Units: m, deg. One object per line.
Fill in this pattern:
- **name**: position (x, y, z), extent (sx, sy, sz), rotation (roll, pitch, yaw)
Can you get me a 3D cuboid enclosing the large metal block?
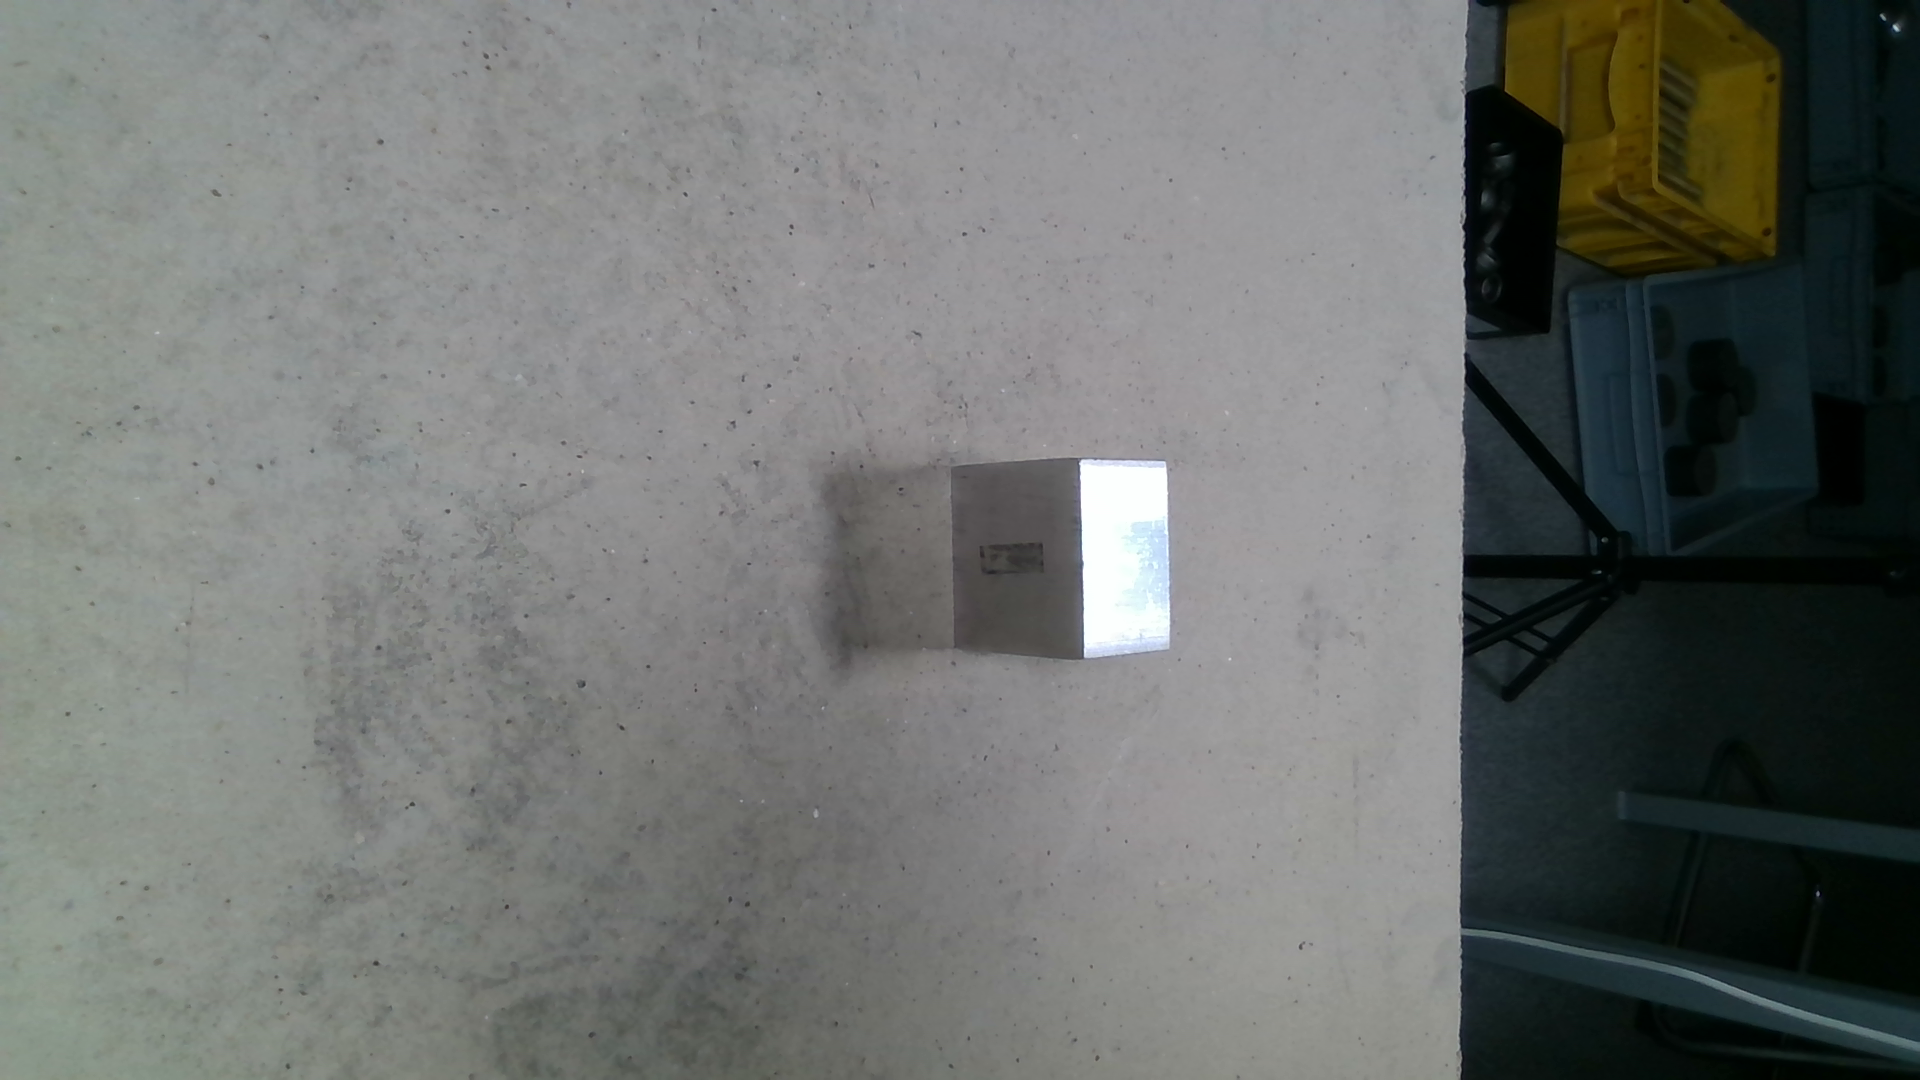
- **large metal block**: position (0.041, 0.007, 0.582), extent (0.050, 0.080, 0.080), rotation (-2, 91, -40)
